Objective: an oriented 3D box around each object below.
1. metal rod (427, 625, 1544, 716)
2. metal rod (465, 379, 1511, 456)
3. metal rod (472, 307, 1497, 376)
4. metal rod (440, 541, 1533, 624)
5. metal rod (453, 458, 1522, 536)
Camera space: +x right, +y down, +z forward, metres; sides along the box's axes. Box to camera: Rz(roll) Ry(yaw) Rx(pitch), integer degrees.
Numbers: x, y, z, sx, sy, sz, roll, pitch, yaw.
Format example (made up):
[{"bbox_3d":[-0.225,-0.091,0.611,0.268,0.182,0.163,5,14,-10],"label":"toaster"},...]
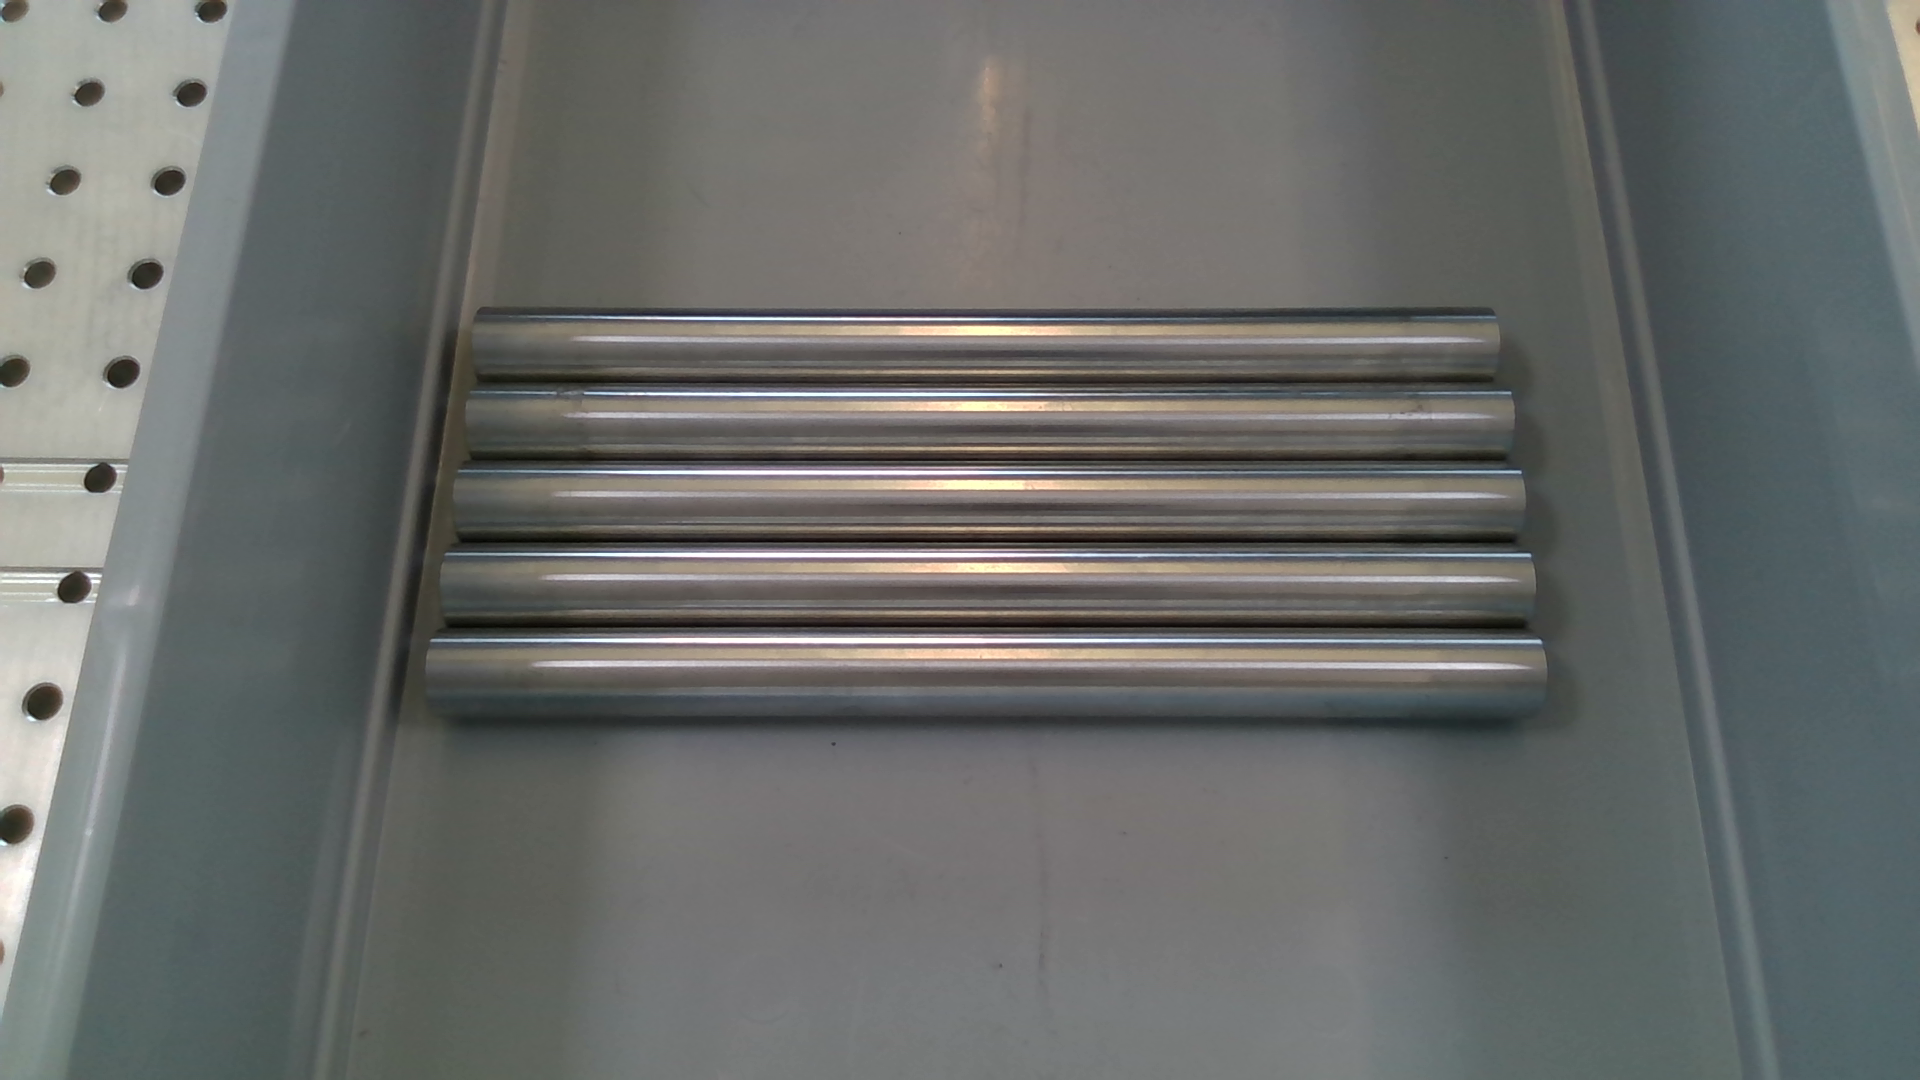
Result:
[{"bbox_3d":[0.007,0.036,0.382,0.300,0.025,0.025,0,70,0],"label":"metal rod"},{"bbox_3d":[0.008,-0.035,0.407,0.300,0.025,0.025,0,70,0],"label":"metal rod"},{"bbox_3d":[0.007,-0.058,0.415,0.300,0.025,0.025,0,70,0],"label":"metal rod"},{"bbox_3d":[0.007,0.013,0.390,0.300,0.025,0.025,0,70,0],"label":"metal rod"},{"bbox_3d":[0.008,-0.011,0.399,0.300,0.025,0.025,0,70,0],"label":"metal rod"}]
